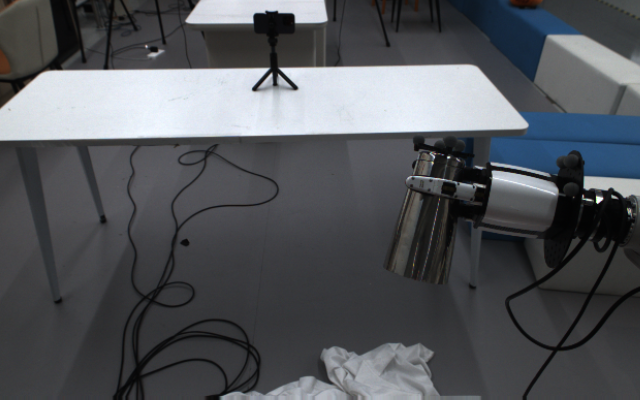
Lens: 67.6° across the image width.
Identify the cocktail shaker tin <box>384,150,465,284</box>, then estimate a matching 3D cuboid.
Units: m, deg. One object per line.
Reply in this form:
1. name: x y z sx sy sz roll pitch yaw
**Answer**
1. cocktail shaker tin: 0.154 0.018 0.683 0.093 0.170 0.093 12 3 -1
